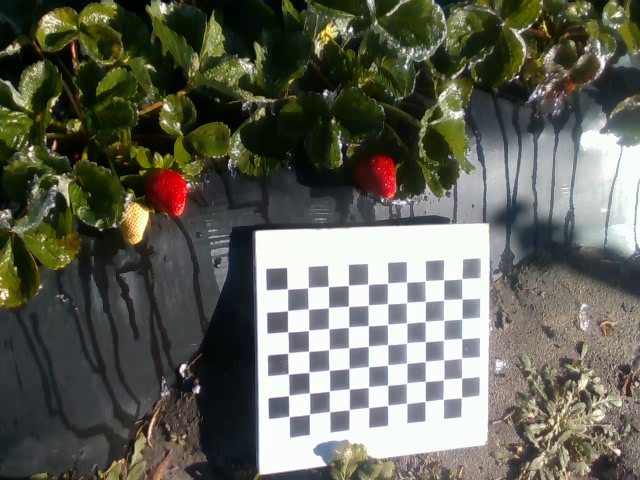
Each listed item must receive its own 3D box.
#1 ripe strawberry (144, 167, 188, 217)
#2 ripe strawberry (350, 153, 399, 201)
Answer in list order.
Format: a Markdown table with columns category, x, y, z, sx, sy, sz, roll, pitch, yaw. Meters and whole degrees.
| category | x | y | z | sx | sy | sz | roll | pitch | yaw |
| --- | --- | --- | --- | --- | --- | --- | --- | --- | --- |
| ripe strawberry | -0.150 | -0.042 | 0.650 | 0.042 | 0.061 | 0.046 | -18 | -33 | -16 |
| ripe strawberry | 0.068 | -0.069 | 0.712 | 0.048 | 0.061 | 0.044 | -11 | -25 | -17 |
